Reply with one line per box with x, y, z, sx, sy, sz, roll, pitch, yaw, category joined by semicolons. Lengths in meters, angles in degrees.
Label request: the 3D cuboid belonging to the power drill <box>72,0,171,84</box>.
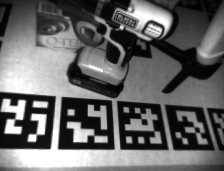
-0.018;-0.090;0.368;0.185;0.187;0.057;16;52;-6;power drill

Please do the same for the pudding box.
-0.097;-0.135;0.456;0.114;0.090;0.038;10;53;-14;pudding box

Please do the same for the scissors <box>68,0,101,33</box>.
-0.089;-0.172;0.403;0.203;0.016;0.088;30;62;-7;scissors

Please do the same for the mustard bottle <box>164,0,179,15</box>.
0.146;-0.251;0.547;0.096;0.191;0.058;19;58;-8;mustard bottle

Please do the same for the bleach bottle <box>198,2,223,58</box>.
0.265;-0.138;0.472;0.103;0.251;0.067;-15;63;-16;bleach bottle

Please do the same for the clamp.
0.205;-0.079;0.543;0.205;0.036;0.164;1;65;-20;clamp
